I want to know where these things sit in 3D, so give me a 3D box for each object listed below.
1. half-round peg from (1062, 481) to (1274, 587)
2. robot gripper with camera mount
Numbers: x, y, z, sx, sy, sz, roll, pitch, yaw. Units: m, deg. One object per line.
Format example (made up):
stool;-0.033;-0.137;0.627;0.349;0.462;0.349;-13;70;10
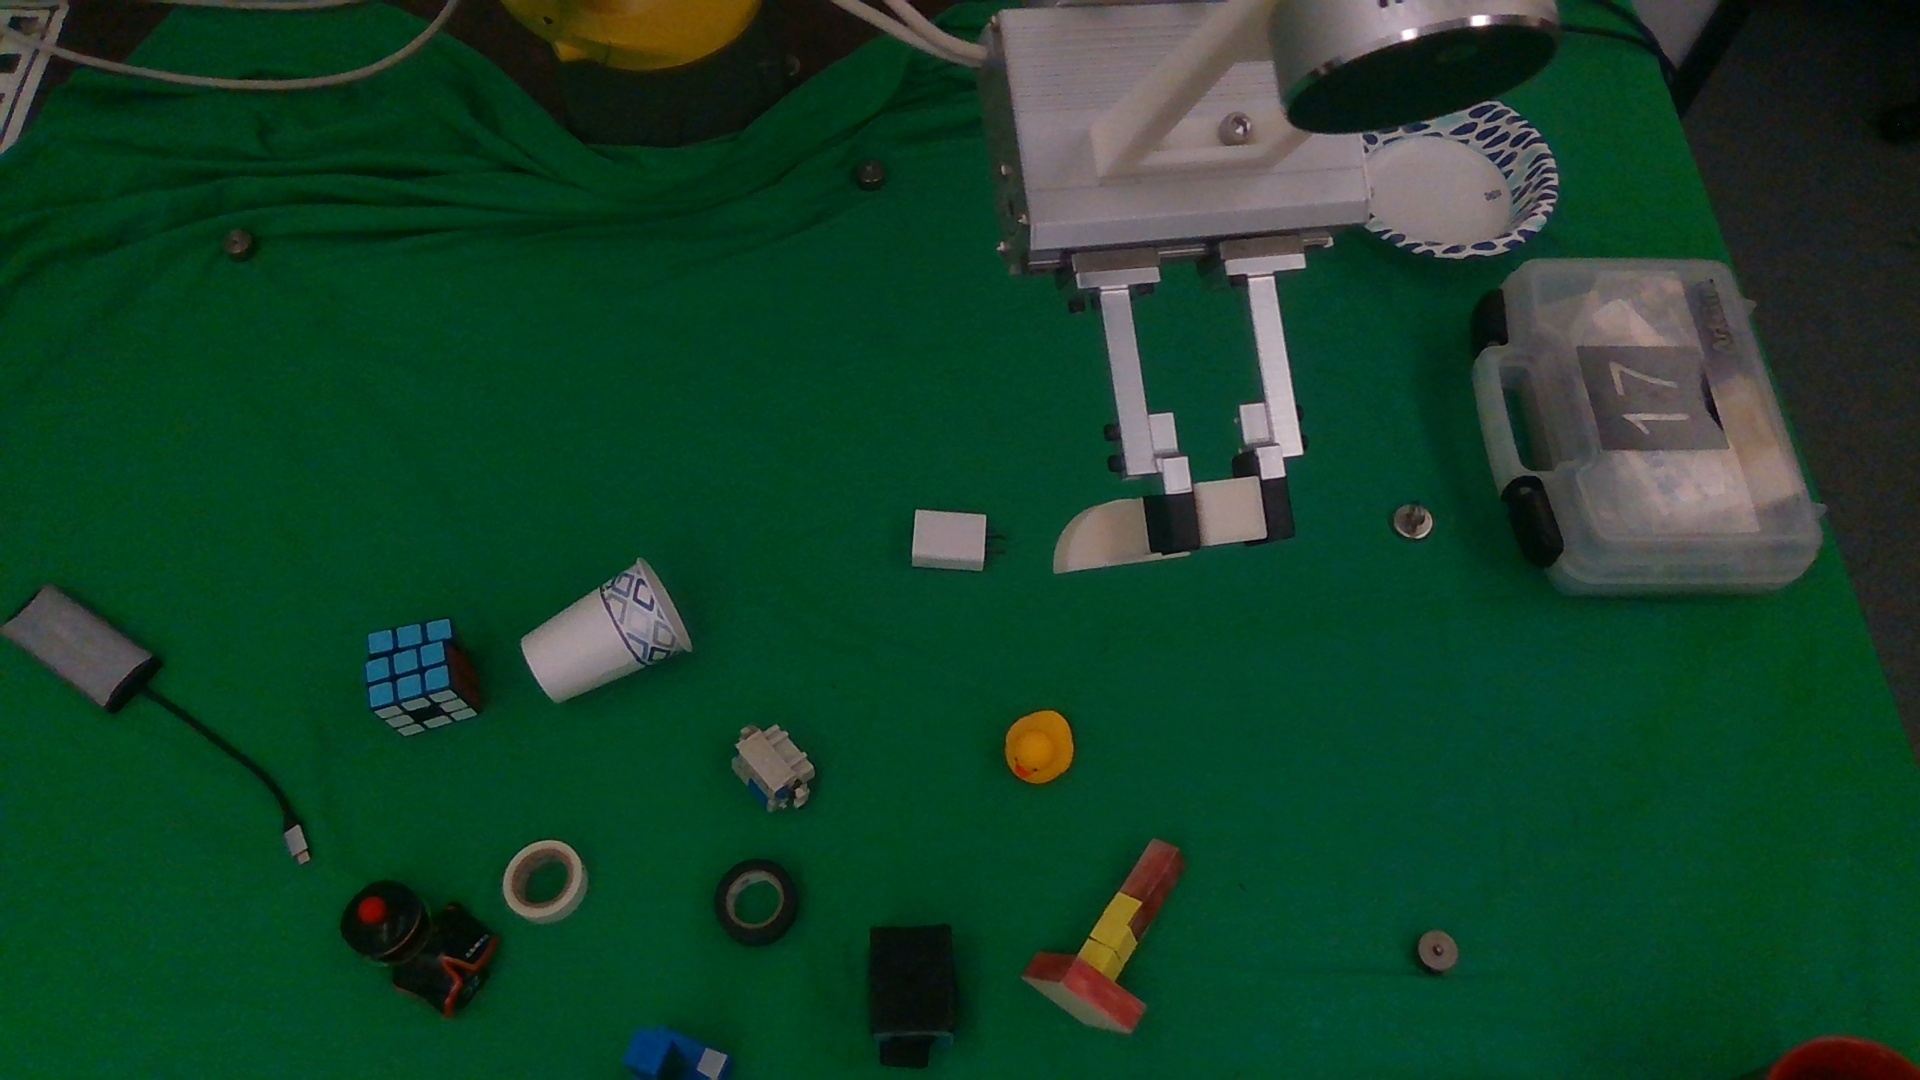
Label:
half-round peg;0.075;-0.002;0.481;0.054;0.122;0.031;-7;88;-13
robot gripper with camera mount;0.099;-0.085;0.355;0.119;0.194;0.158;-7;87;-16
